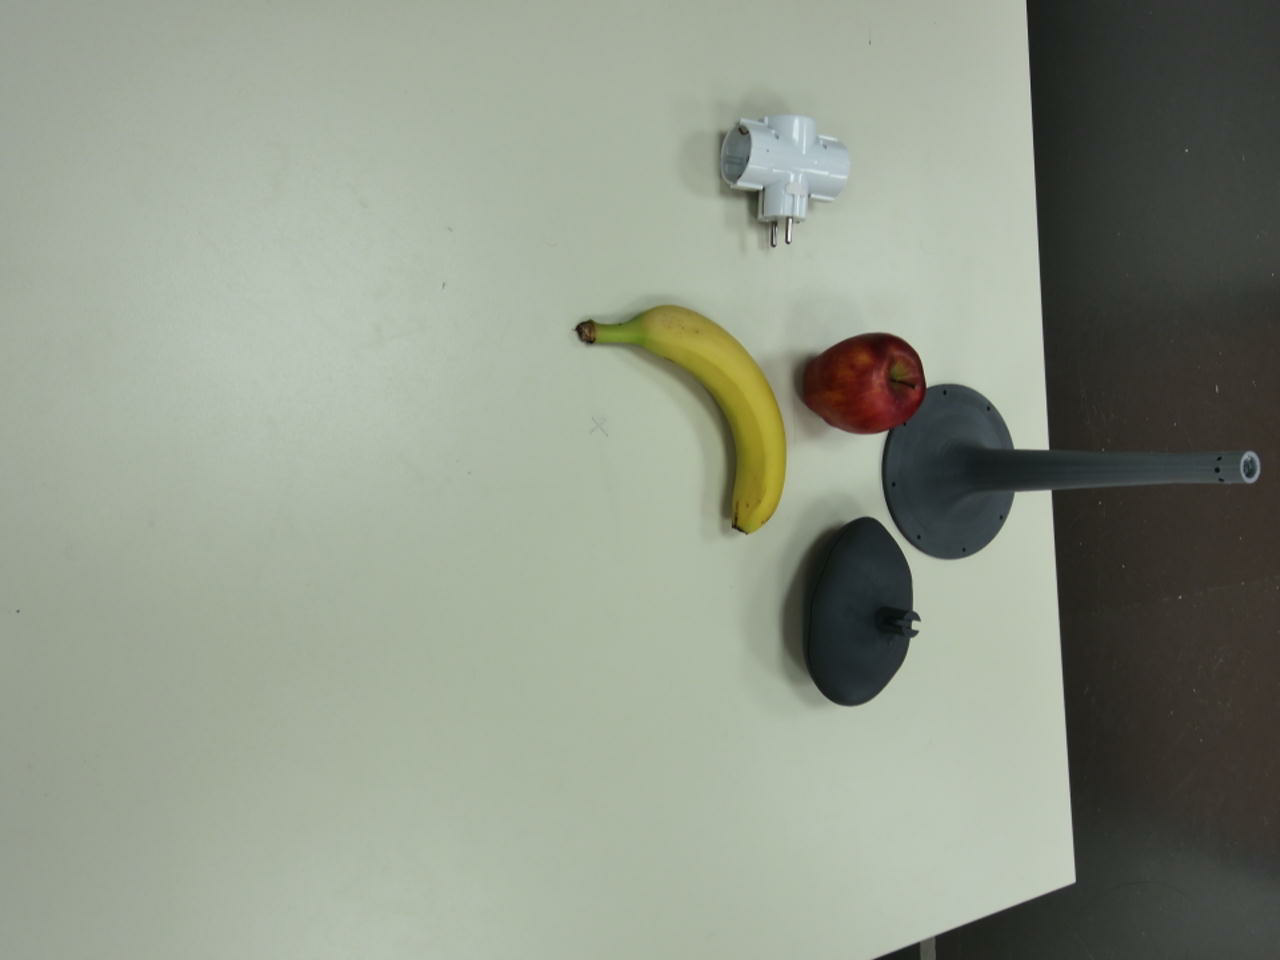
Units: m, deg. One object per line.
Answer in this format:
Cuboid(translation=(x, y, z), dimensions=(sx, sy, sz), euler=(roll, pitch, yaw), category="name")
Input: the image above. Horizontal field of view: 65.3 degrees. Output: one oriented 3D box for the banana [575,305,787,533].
Cuboid(translation=(0.049, -0.060, 0.724), dimensions=(0.094, 0.041, 0.196), euler=(-44, 109, -21), category="banana")
